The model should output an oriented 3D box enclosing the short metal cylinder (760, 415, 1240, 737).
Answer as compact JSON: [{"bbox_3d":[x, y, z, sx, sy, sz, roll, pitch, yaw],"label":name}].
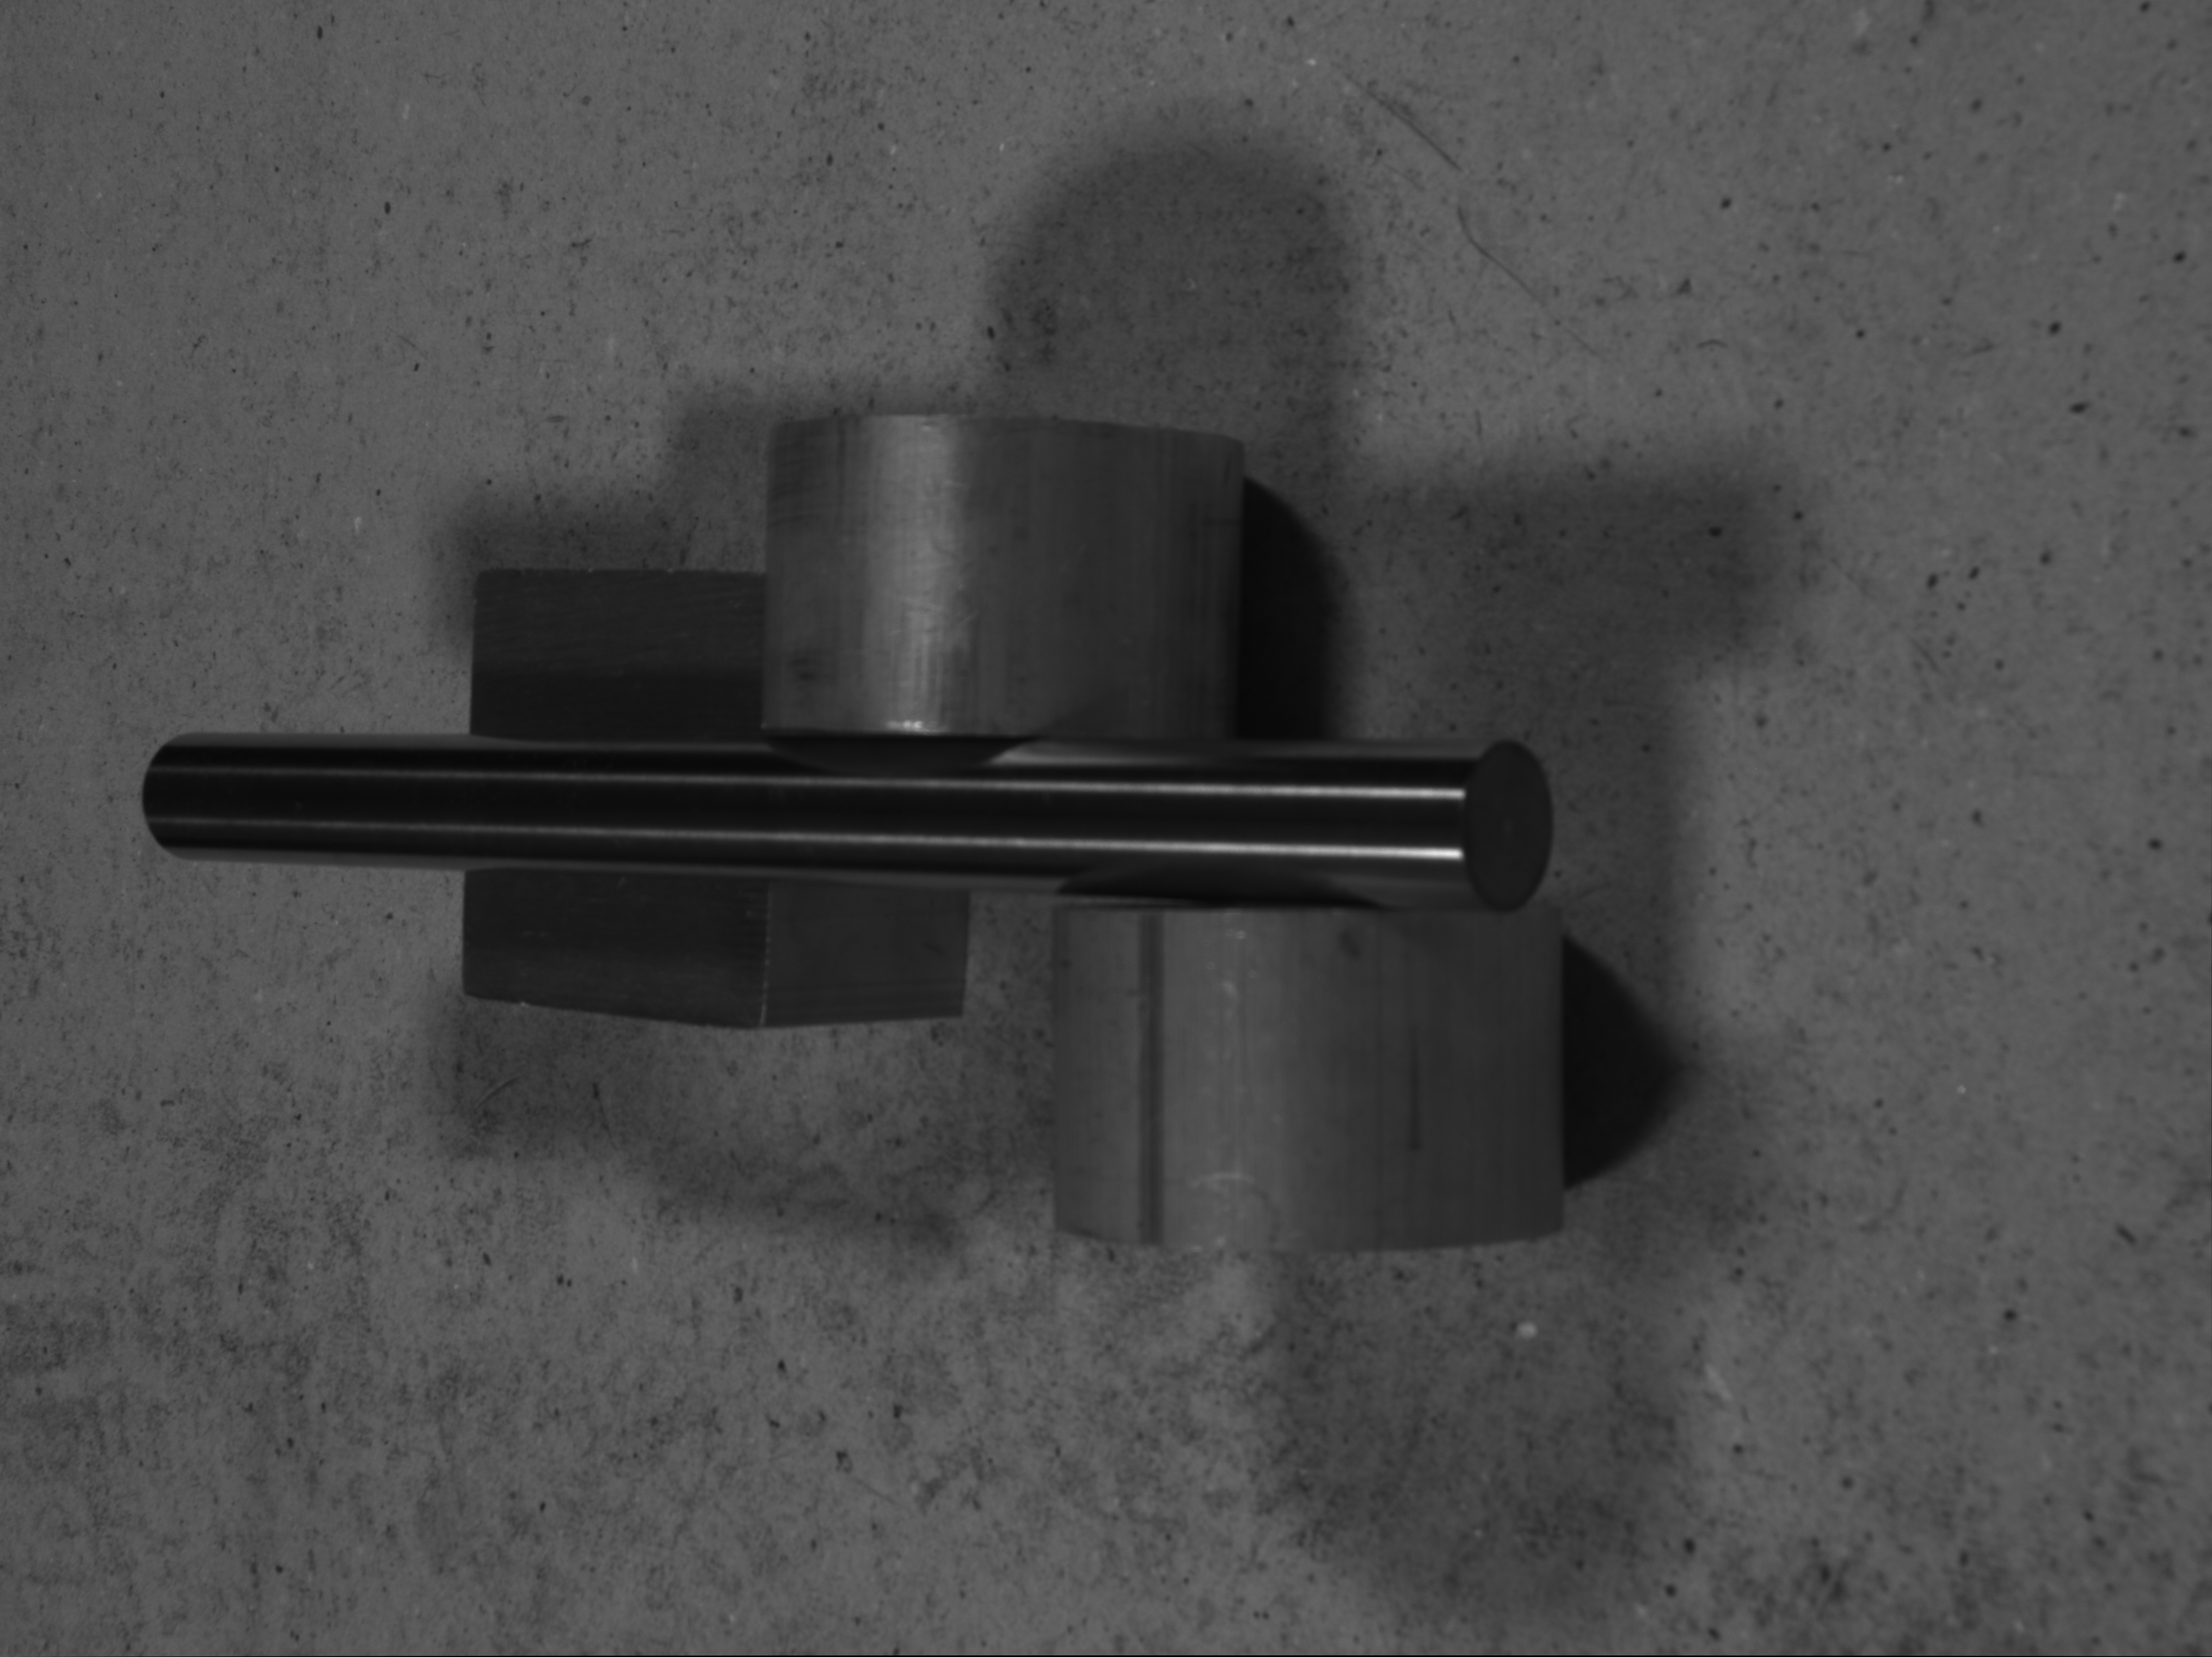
[{"bbox_3d":[-0.018,-0.041,0.617,0.080,0.080,0.050,3,92,39],"label":"short metal cylinder"}]

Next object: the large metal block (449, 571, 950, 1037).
[{"bbox_3d":[-0.074,-0.006,0.677,0.080,0.050,0.080,4,92,39],"label":"large metal block"}]

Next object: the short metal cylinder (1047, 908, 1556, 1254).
[{"bbox_3d":[0.031,0.037,0.575,0.080,0.080,0.050,0,90,39],"label":"short metal cylinder"}]

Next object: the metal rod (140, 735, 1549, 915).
[{"bbox_3d":[-0.060,-0.003,0.620,0.299,0.025,0.025,1,91,38],"label":"metal rod"}]

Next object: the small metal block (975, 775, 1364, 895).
[{"bbox_3d":[0.014,-0.001,0.608,0.050,0.050,0.025,1,91,39],"label":"small metal block"}]
